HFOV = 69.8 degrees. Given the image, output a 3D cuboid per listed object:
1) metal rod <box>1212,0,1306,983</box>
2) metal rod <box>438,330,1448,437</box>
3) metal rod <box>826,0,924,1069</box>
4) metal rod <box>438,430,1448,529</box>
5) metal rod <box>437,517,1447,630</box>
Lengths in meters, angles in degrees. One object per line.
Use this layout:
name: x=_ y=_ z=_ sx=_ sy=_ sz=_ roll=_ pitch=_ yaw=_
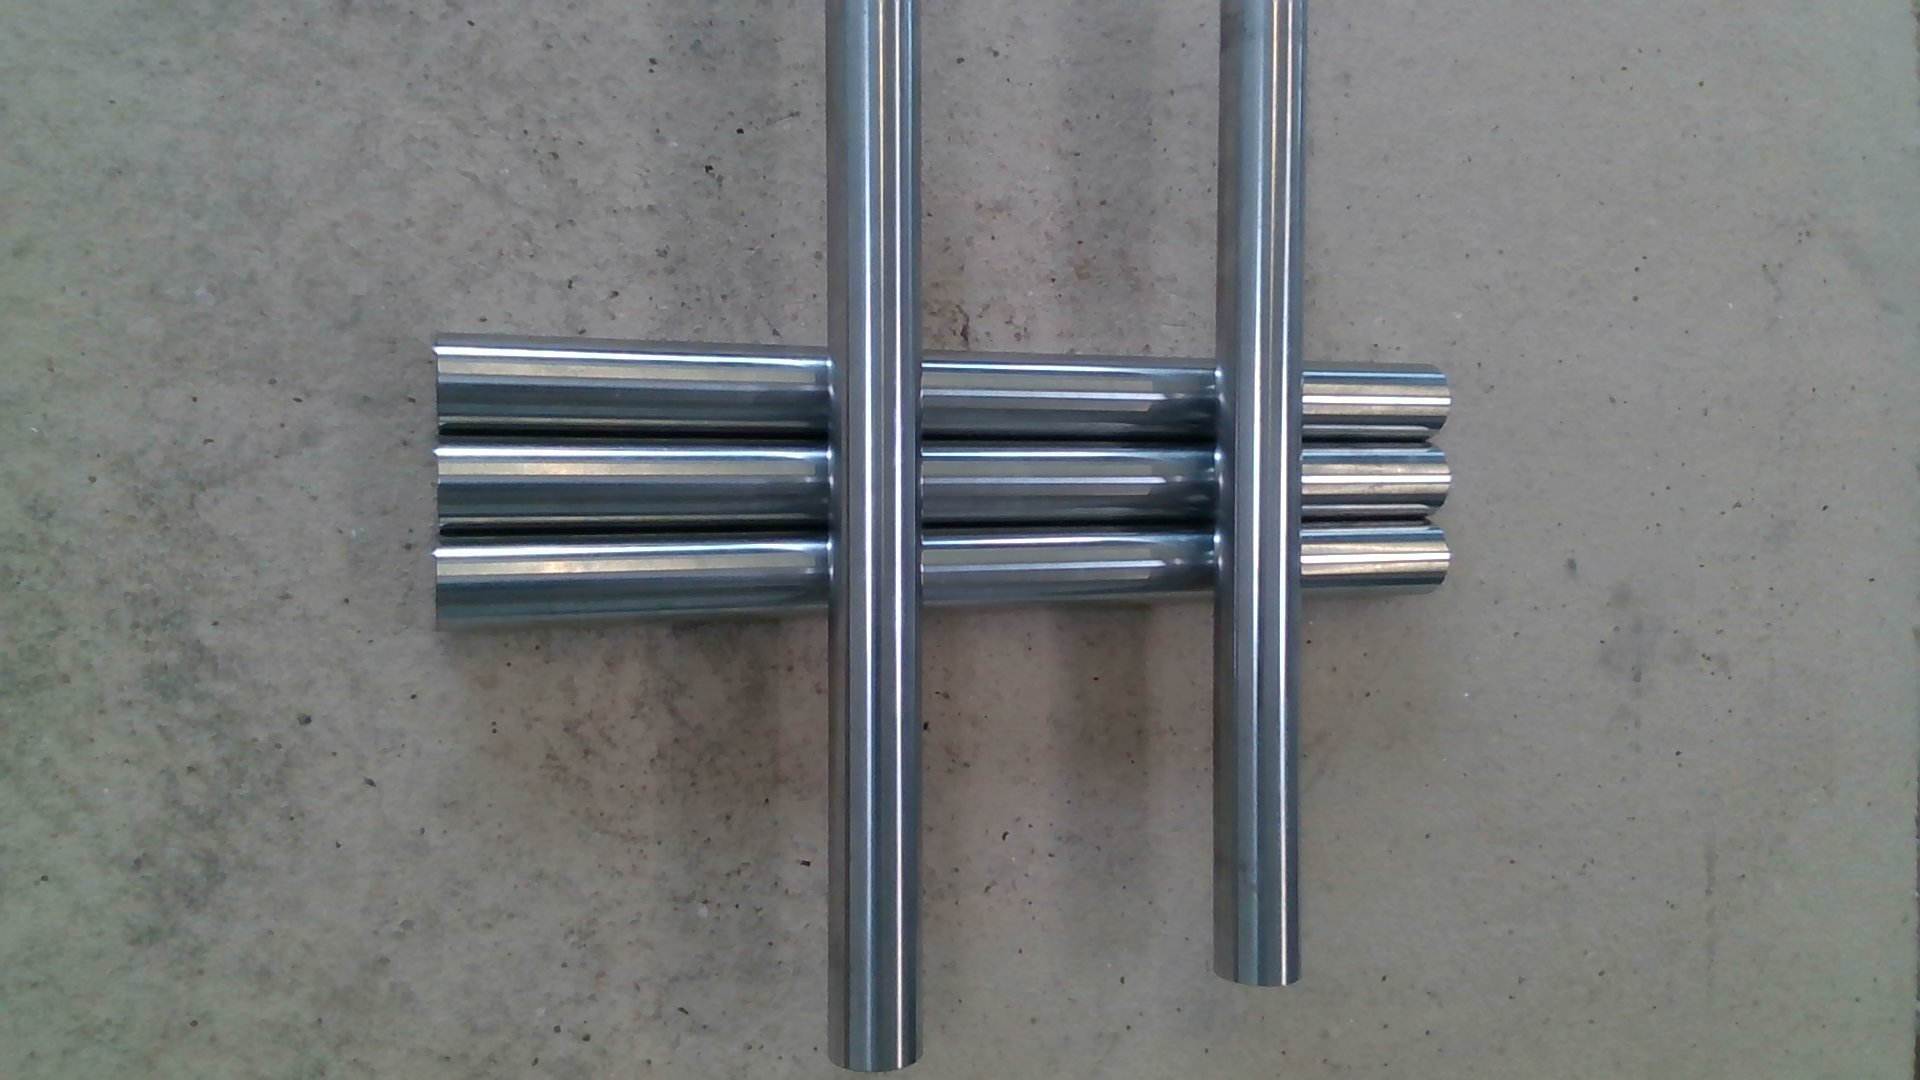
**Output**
metal rod: x=0.087 y=-0.025 z=0.399 sx=0.025 sy=0.025 sz=0.300 roll=0 pitch=90 yaw=-20
metal rod: x=0.010 y=-0.043 z=0.398 sx=0.300 sy=0.025 sz=0.025 roll=-1 pitch=90 yaw=-20
metal rod: x=-0.022 y=-0.016 z=0.359 sx=0.025 sy=0.025 sz=0.300 roll=0 pitch=90 yaw=-20
metal rod: x=0.010 y=-0.018 z=0.398 sx=0.300 sy=0.025 sz=0.025 roll=-1 pitch=90 yaw=-20
metal rod: x=0.010 y=0.008 z=0.398 sx=0.300 sy=0.025 sz=0.025 roll=-1 pitch=90 yaw=-20
